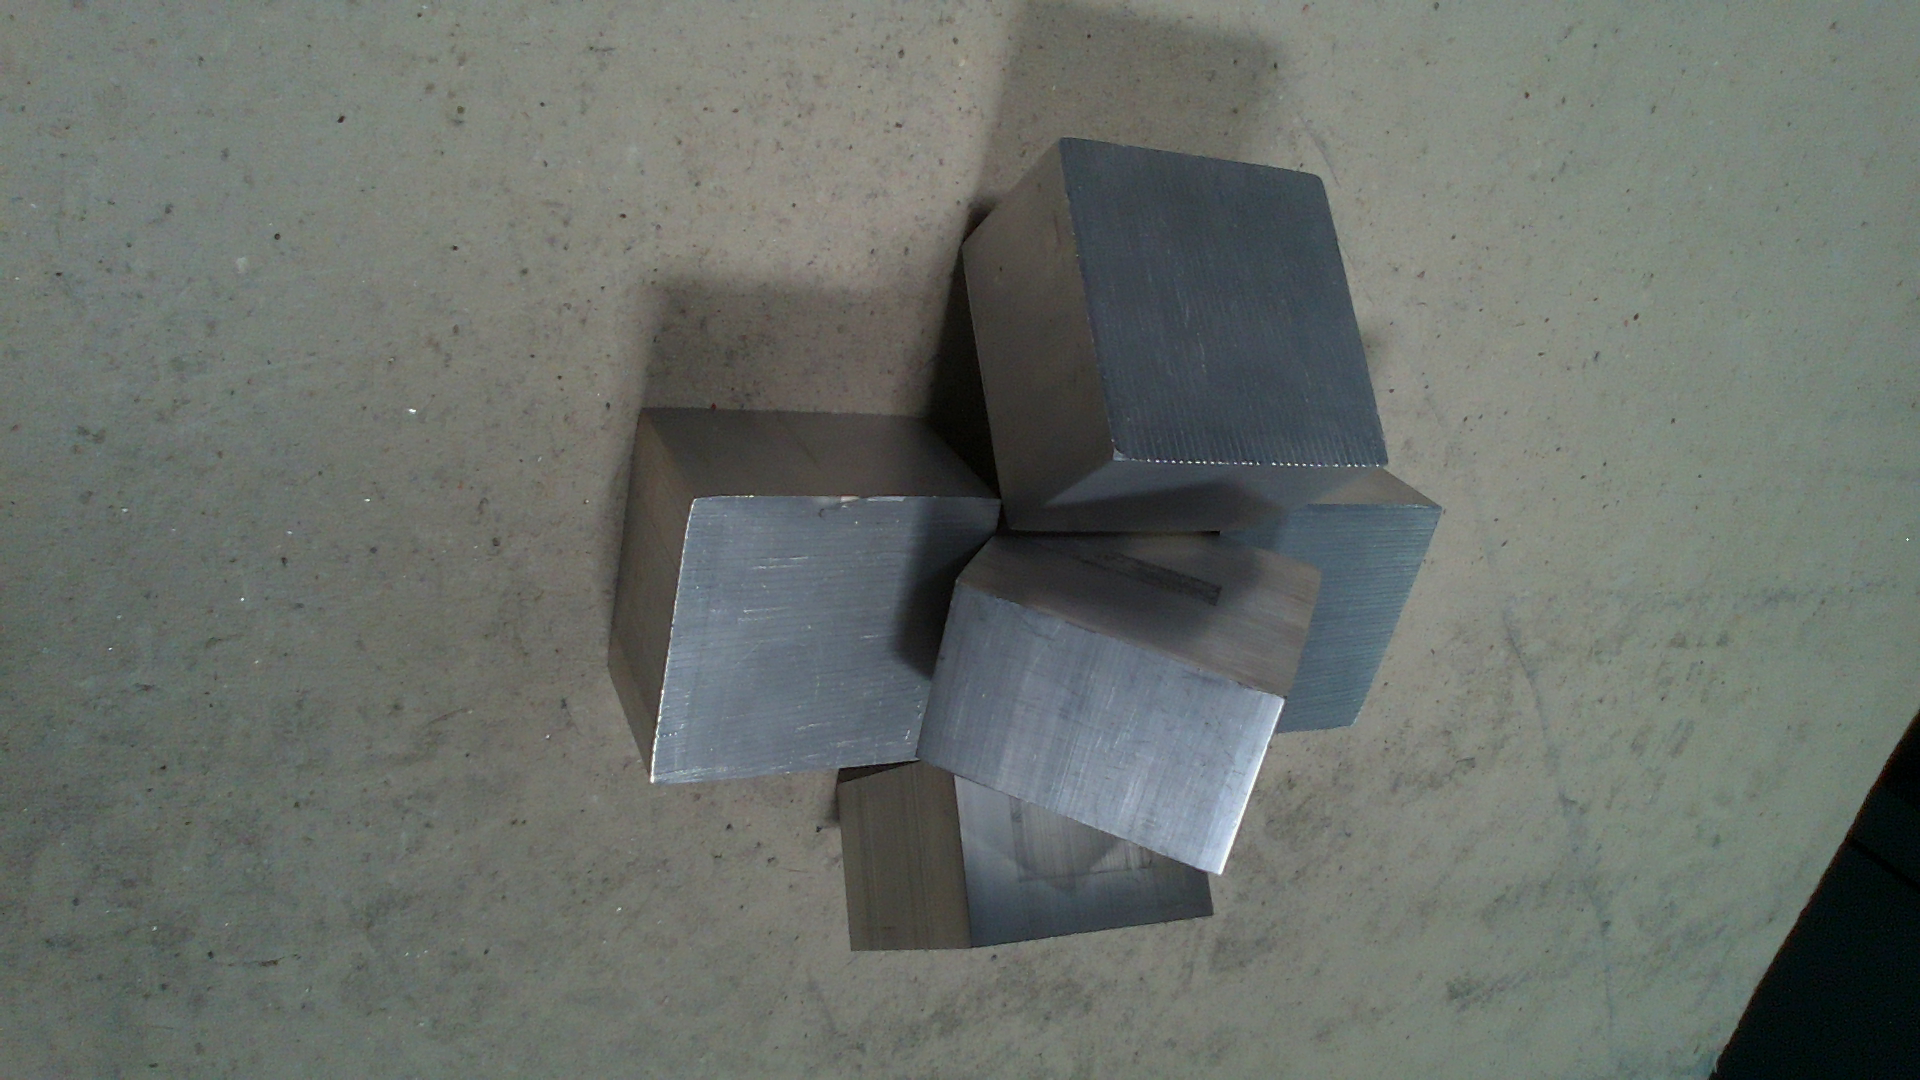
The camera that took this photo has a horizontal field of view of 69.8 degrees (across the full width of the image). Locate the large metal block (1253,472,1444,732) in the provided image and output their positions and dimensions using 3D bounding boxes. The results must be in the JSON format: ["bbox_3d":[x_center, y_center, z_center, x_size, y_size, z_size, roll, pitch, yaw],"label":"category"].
[{"bbox_3d":[0.090,0.013,0.426,0.080,0.050,0.080,0,118,-28],"label":"large metal block"}]

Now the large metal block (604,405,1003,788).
[{"bbox_3d":[-0.043,0.013,0.358,0.080,0.050,0.080,-1,119,-28],"label":"large metal block"}]

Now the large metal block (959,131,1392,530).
[{"bbox_3d":[0.052,-0.048,0.345,0.080,0.080,0.050,0,162,-28],"label":"large metal block"}]

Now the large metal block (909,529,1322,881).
[{"bbox_3d":[0.043,0.031,0.353,0.080,0.080,0.050,19,116,12],"label":"large metal block"}]

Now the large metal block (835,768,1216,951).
[{"bbox_3d":[0.017,0.092,0.412,0.080,0.080,0.050,2,74,-28],"label":"large metal block"}]
